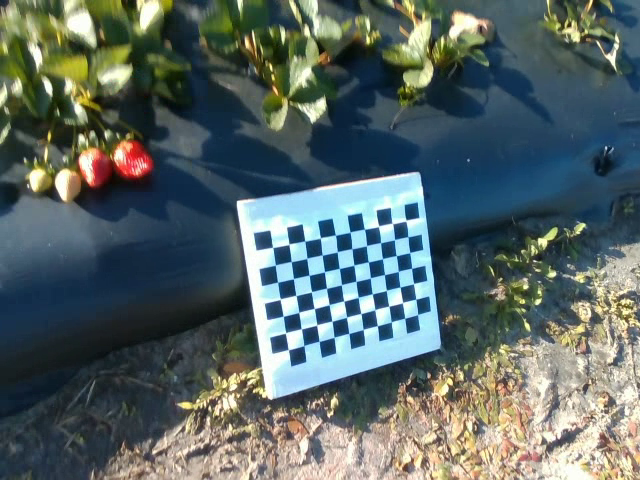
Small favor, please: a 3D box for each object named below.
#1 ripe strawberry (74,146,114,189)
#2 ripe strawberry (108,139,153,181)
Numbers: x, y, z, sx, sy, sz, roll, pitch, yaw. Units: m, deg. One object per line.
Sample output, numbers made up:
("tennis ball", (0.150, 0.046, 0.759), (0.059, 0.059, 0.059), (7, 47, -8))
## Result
("ripe strawberry", (-0.281, -0.087, 0.978), (0.050, 0.061, 0.044), (15, -49, -29))
("ripe strawberry", (-0.232, -0.099, 0.997), (0.067, 0.057, 0.052), (21, -12, 28))
